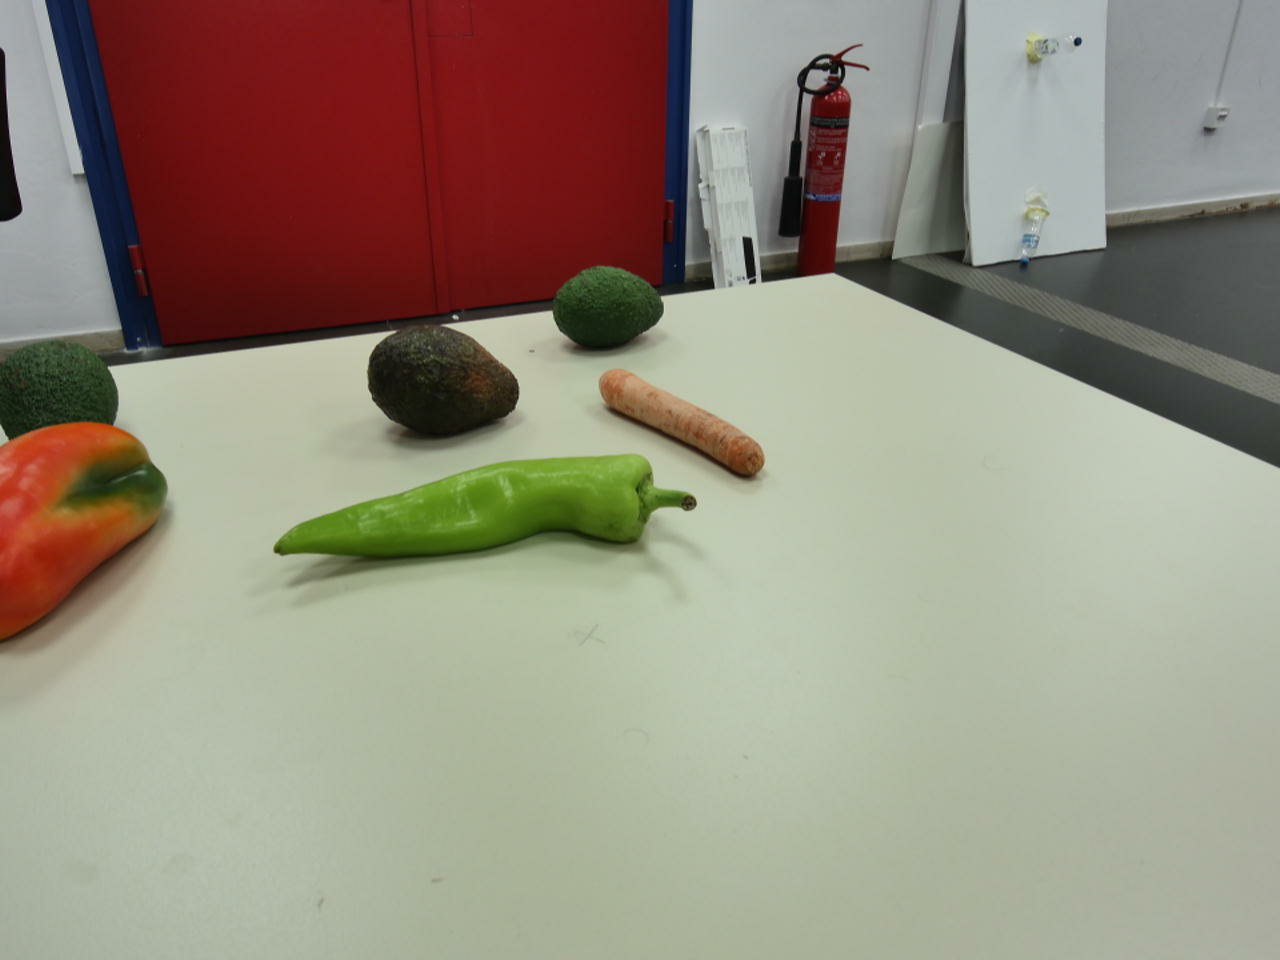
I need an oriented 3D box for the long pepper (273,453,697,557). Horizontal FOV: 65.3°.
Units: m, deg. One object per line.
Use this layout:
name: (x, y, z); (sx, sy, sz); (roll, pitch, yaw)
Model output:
long pepper: (-0.077, 0.014, 0.513); (0.204, 0.045, 0.065); (-4, 26, -8)
